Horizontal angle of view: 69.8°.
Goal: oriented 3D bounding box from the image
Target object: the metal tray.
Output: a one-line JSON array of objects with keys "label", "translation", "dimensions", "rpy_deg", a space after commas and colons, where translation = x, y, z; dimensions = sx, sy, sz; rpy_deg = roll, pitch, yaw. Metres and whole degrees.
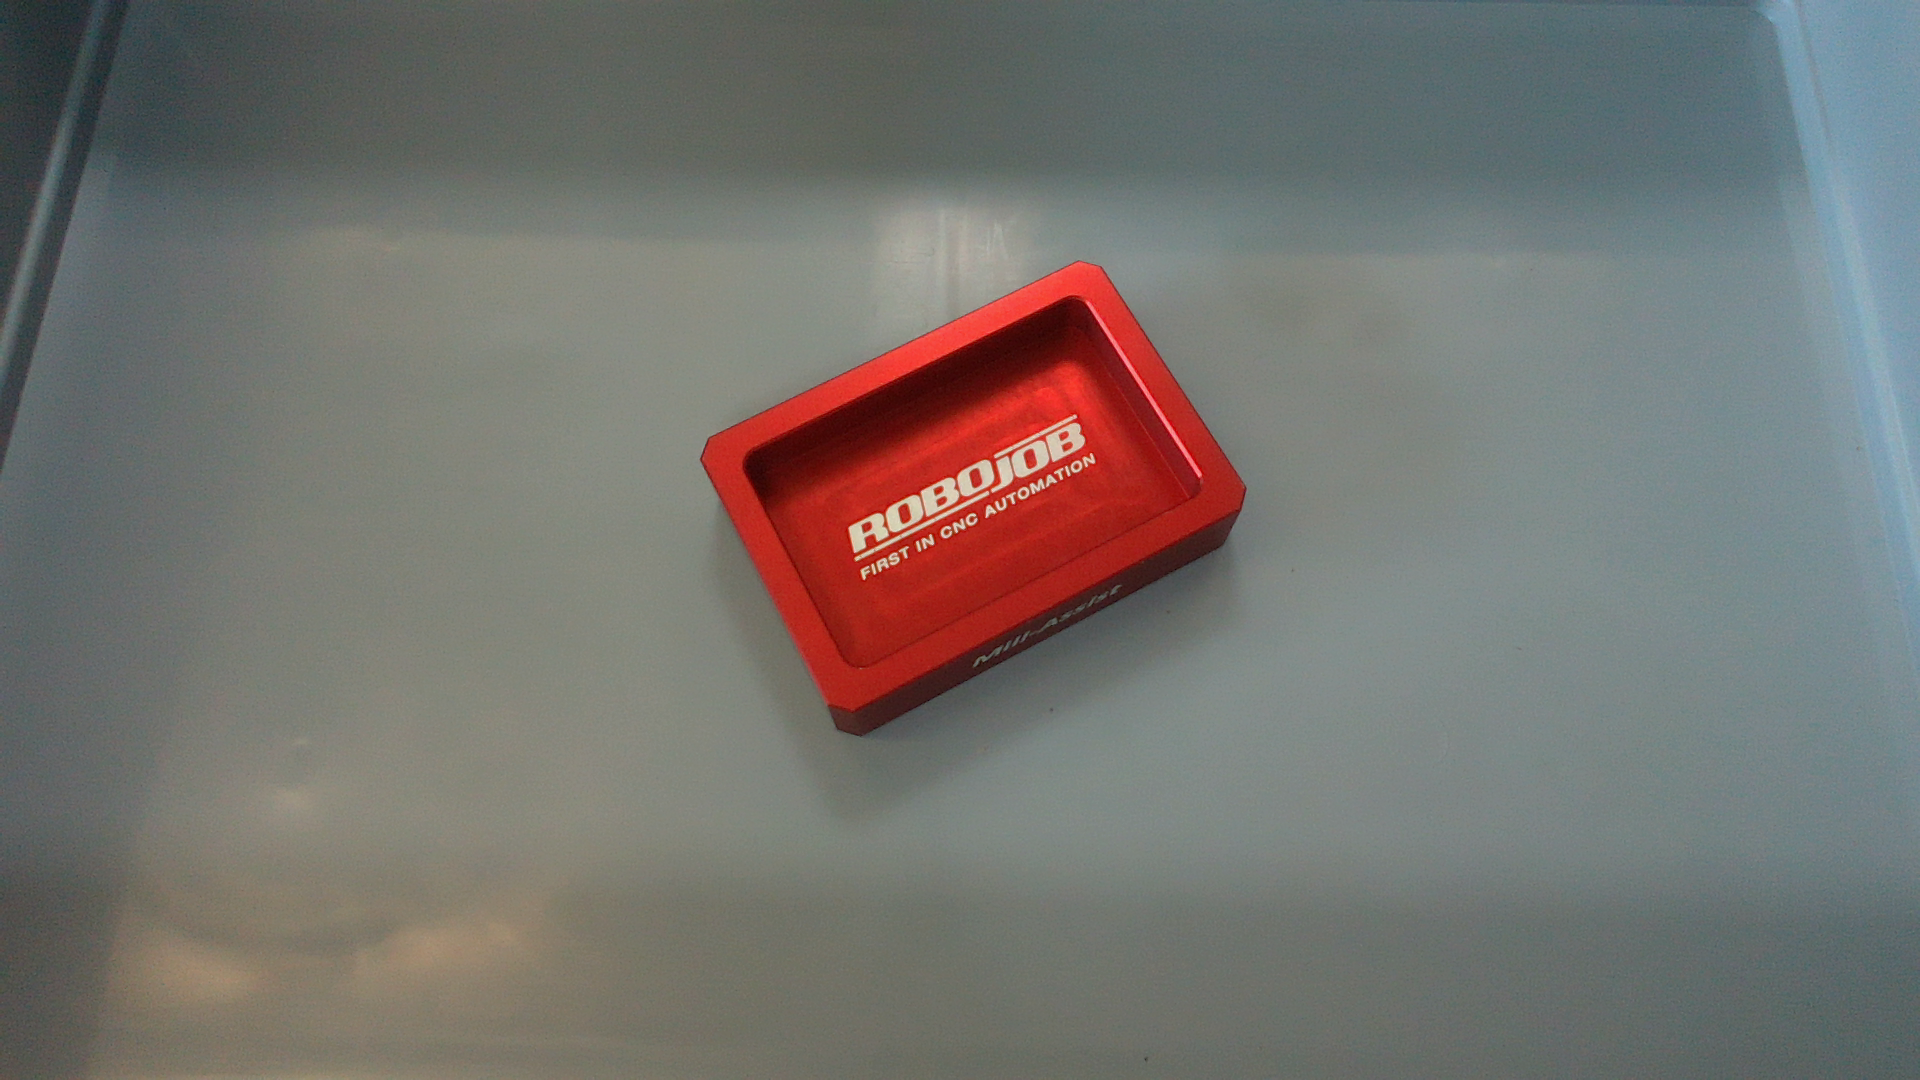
[{"label": "metal tray", "translation": [0.003, -0.014, 0.394], "dimensions": [0.130, 0.030, 0.090], "rpy_deg": [-27, 73, -10]}]
